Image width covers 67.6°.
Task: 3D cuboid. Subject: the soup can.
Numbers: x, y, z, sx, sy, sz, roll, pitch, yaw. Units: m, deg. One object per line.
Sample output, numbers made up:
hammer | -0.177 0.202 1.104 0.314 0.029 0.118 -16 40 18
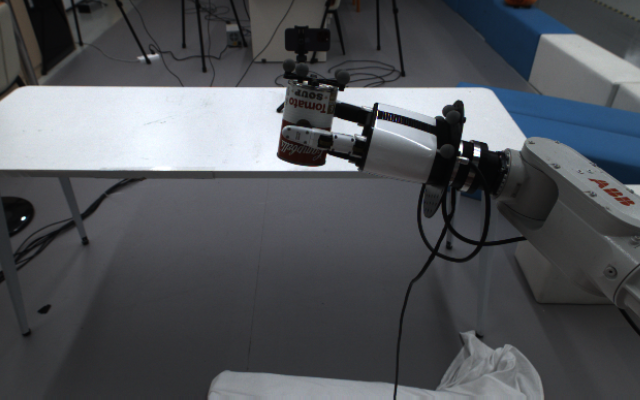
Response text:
soup can | -0.016 -0.104 0.640 0.067 0.101 0.067 9 20 -3
